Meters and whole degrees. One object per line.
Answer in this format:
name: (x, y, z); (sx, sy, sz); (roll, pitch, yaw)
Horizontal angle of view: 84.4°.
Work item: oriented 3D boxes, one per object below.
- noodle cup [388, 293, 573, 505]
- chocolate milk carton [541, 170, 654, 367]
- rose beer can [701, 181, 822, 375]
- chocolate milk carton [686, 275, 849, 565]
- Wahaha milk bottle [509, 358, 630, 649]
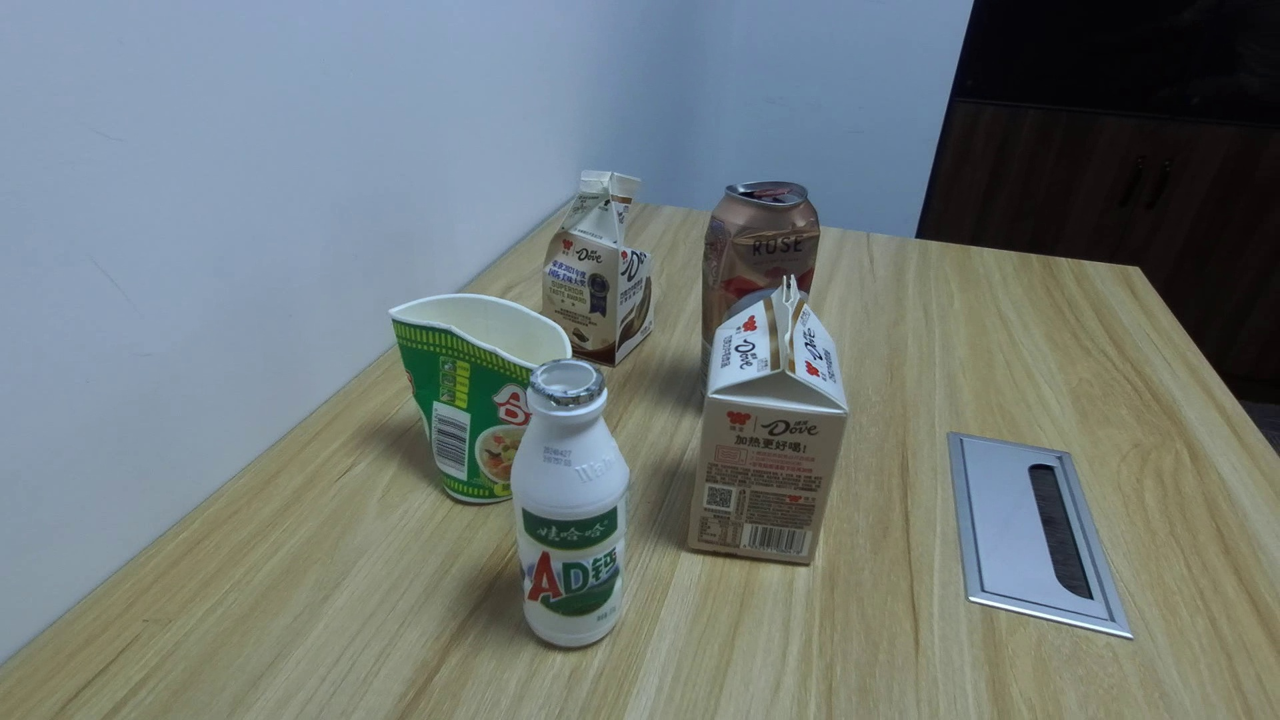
noodle cup: (-0.095, 0.026, 0.439); (0.070, 0.111, 0.114); (-25, 44, -33)
chocolate milk carton: (-0.030, -0.083, 0.572); (0.073, 0.155, 0.076); (17, 33, 21)
rose beer can: (0.081, -0.039, 0.496); (0.076, 0.167, 0.065); (-2, 27, -3)
chocolate milk carton: (0.072, 0.032, 0.394); (0.074, 0.148, 0.075); (6, 31, 5)
Wahaha milk bottle: (-0.032, 0.070, 0.335); (0.056, 0.148, 0.056); (0, 30, 0)
